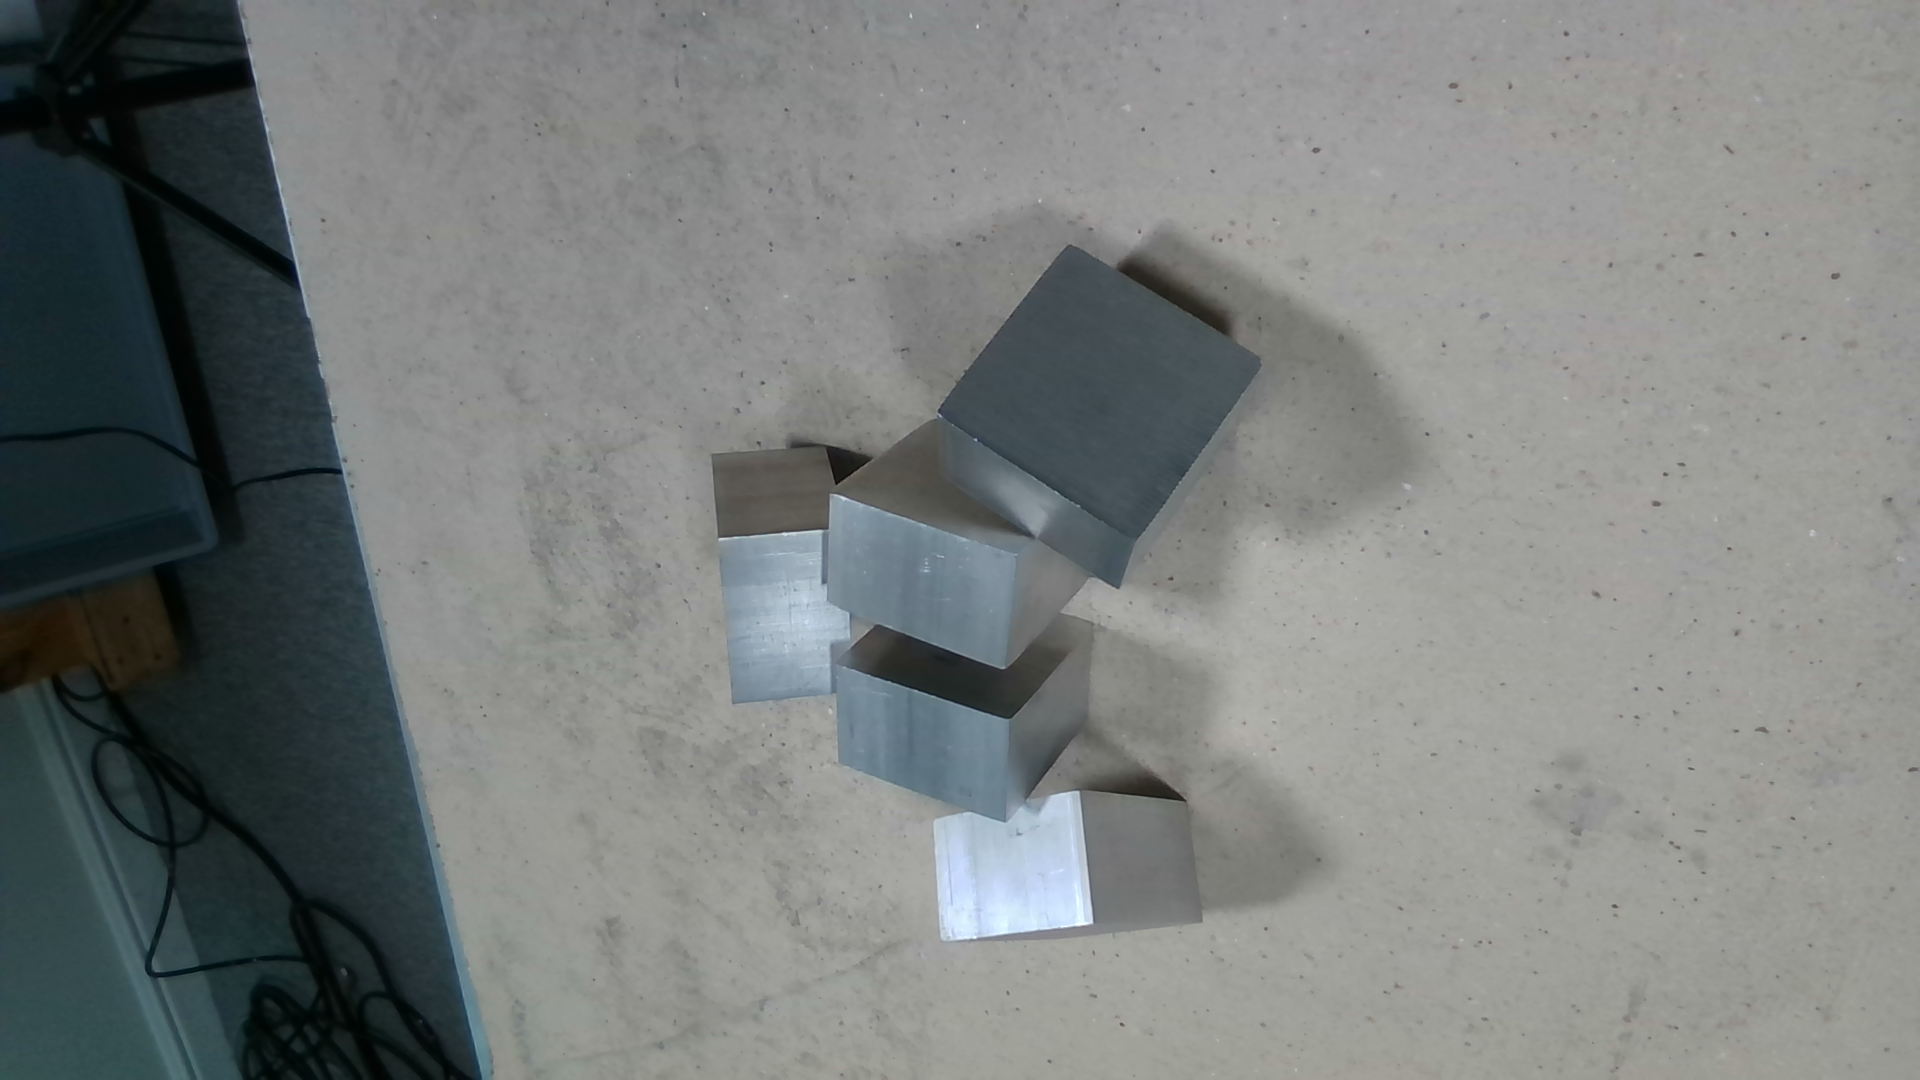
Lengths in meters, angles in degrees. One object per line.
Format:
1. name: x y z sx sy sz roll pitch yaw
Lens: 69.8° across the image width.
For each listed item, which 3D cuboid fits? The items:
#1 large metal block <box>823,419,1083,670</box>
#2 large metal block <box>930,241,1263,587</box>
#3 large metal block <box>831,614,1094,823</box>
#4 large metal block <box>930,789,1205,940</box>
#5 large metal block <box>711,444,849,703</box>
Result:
1. large metal block: 0.002 -0.002 0.542 0.080 0.080 0.050 19 123 22
2. large metal block: 0.046 -0.043 0.482 0.080 0.080 0.050 34 164 12
3. large metal block: 0.002 0.064 0.578 0.080 0.080 0.050 15 122 24
4. large metal block: 0.045 0.140 0.585 0.080 0.080 0.050 -19 66 37
5. large metal block: -0.077 0.012 0.591 0.050 0.080 0.080 -5 119 -10
